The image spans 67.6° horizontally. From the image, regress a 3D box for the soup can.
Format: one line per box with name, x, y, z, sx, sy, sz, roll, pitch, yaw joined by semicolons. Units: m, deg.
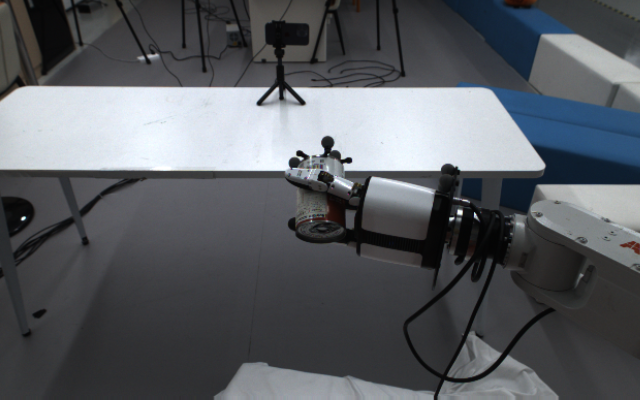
soup can;0.002;-0.002;0.652;0.067;0.067;0.101;0;63;-3
